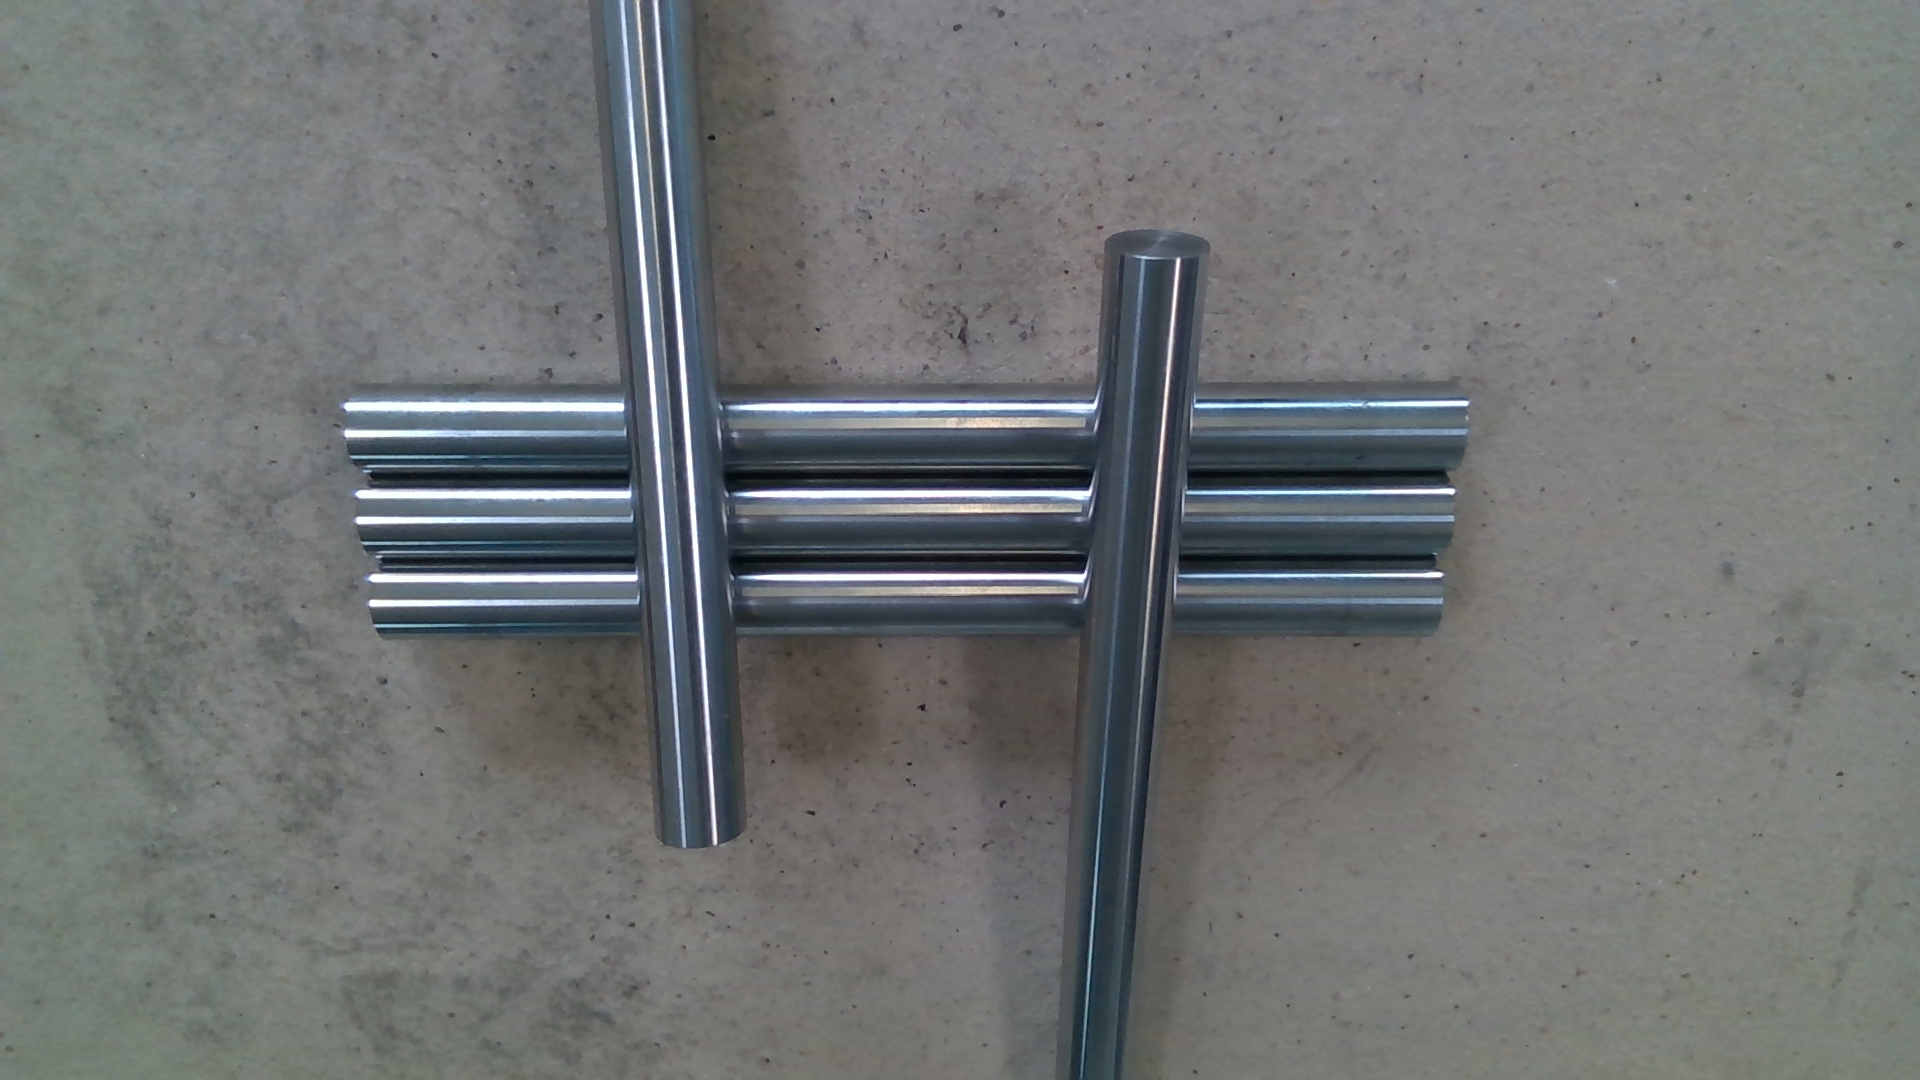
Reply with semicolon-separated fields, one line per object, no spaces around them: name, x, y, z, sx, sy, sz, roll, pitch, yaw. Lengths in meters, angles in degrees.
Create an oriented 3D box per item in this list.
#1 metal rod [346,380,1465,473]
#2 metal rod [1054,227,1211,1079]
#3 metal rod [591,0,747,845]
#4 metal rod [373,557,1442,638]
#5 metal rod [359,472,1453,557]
metal rod;-0.015;-0.031;0.382;0.300;0.025;0.025;0;110;0
metal rod;0.045;0.062;0.396;0.025;0.025;0.301;1;118;0
metal rod;-0.075;-0.067;0.348;0.025;0.025;0.300;-1;103;0
metal rod;-0.015;0.016;0.399;0.300;0.025;0.025;0;110;0
metal rod;-0.015;-0.008;0.390;0.300;0.025;0.025;0;110;0
